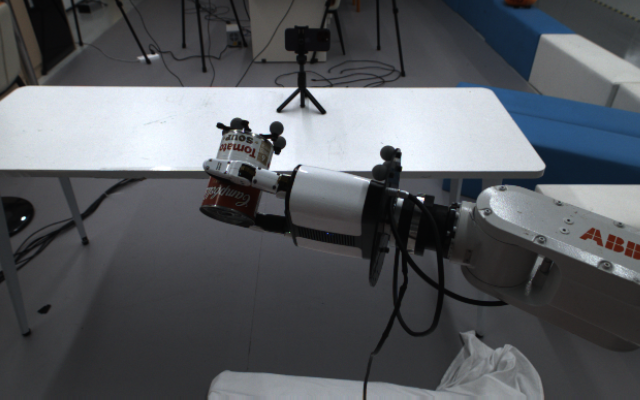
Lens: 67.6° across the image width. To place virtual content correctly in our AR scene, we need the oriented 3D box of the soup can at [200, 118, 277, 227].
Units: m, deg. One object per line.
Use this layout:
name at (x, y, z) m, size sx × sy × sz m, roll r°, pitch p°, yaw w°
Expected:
soup can at (-0.100, -0.026, 0.595) m, size 0.067 × 0.067 × 0.101 m, roll 9°, pitch 72°, yaw 10°
